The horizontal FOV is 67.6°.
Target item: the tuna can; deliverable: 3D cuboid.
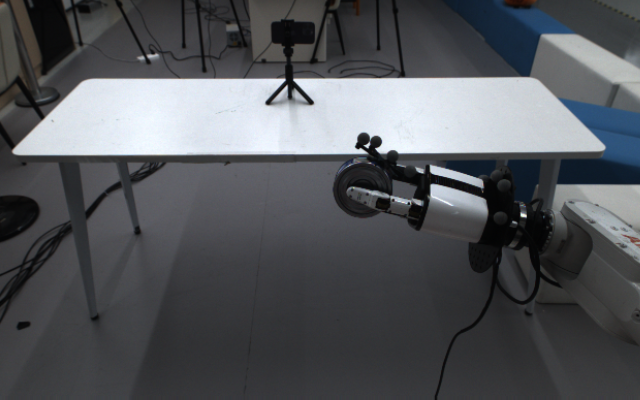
[{"bbox_3d":[0.065,-0.012,0.694,0.085,0.085,0.034,7,19,6],"label":"tuna can"}]
